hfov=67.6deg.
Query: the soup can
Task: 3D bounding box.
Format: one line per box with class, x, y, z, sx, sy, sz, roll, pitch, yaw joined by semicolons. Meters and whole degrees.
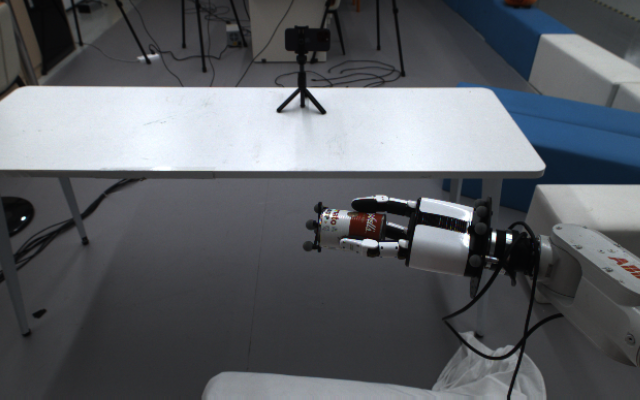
soup can;0.055;0.051;0.788;0.101;0.067;0.067;5;34;13
